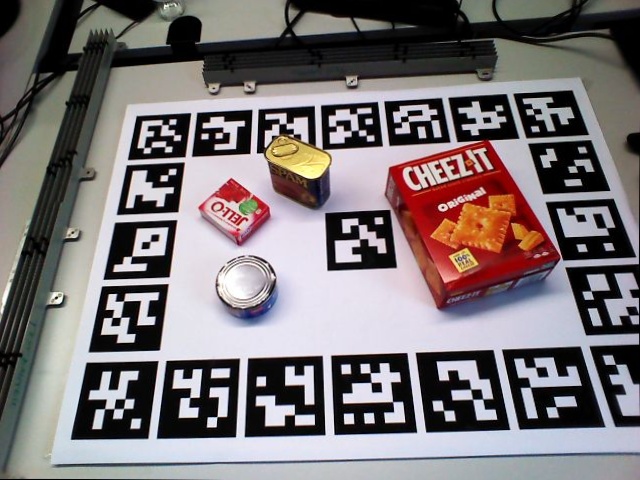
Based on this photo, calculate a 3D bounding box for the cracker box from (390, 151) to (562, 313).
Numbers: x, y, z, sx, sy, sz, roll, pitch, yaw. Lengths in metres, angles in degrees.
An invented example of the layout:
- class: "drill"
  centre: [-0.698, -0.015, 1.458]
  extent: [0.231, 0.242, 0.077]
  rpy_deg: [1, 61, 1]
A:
- class: "cracker box"
  centre: [0.217, -0.019, 0.753]
  extent: [0.164, 0.072, 0.213]
  rpy_deg: [-16, 57, -7]

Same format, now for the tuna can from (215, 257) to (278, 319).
- class: "tuna can"
  centre: [-0.103, 0.069, 0.737]
  extent: [0.086, 0.034, 0.085]
  rpy_deg: [-2, 62, 4]

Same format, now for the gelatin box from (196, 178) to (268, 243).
- class: "gelatin box"
  centre: [-0.137, -0.049, 0.817]
  extent: [0.089, 0.030, 0.073]
  rpy_deg: [37, 65, 20]

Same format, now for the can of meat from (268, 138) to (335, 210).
- class: "can of meat"
  centre: [-0.026, -0.102, 0.819]
  extent: [0.102, 0.084, 0.057]
  rpy_deg: [24, 63, 19]
